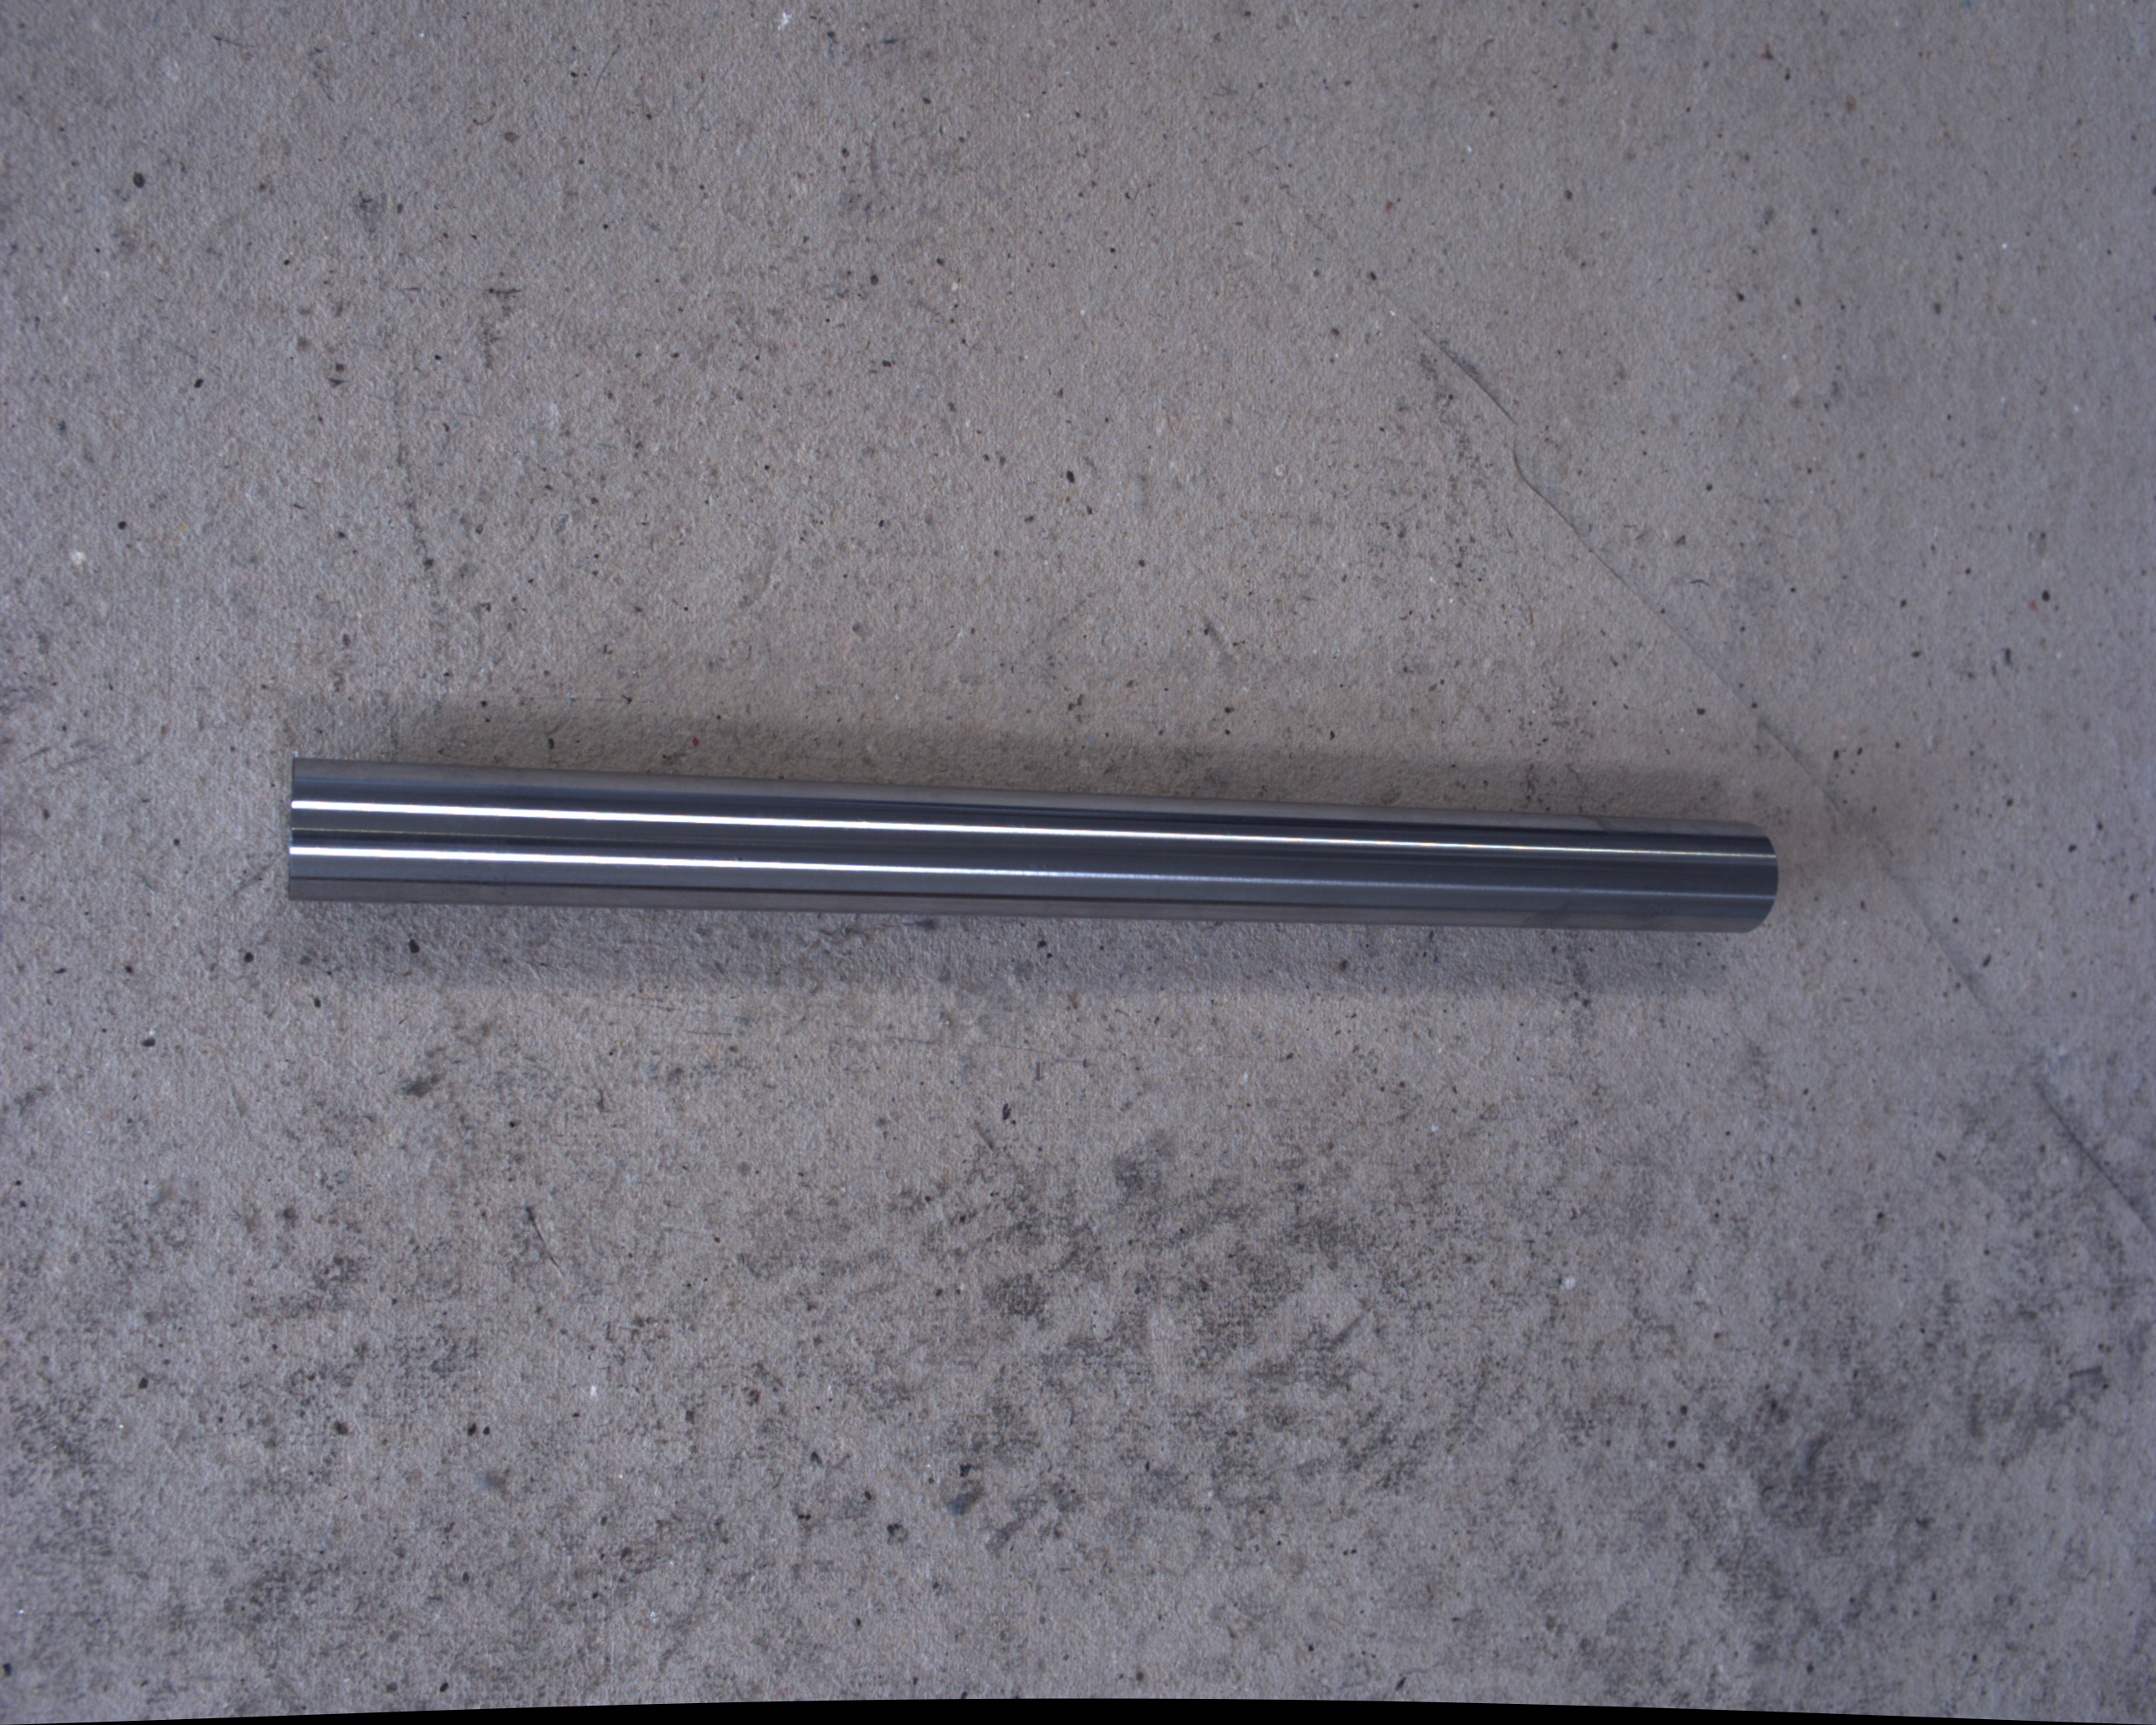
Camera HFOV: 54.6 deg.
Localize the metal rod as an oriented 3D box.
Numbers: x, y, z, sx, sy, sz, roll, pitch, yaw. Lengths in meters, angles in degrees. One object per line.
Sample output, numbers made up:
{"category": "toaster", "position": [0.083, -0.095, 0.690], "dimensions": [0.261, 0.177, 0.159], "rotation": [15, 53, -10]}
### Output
{"category": "metal rod", "position": [0.006, -0.001, 0.412], "dimensions": [0.302, 0.025, 0.025], "rotation": [2, 90, -20]}
